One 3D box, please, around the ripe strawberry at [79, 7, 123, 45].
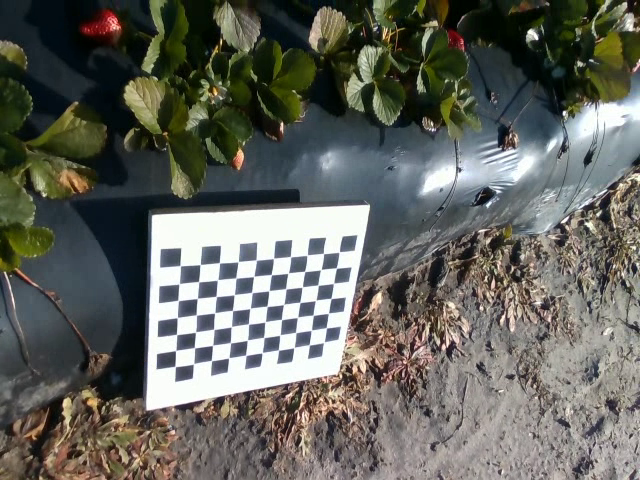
[{"bbox_3d":[-0.226,-0.216,0.666,0.044,0.042,0.055,28,36,34],"label":"ripe strawberry"}]
